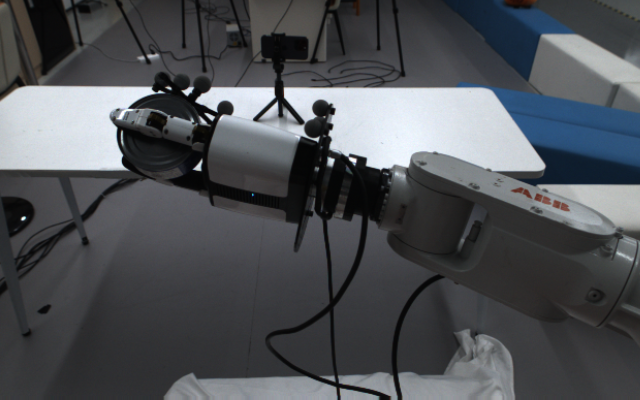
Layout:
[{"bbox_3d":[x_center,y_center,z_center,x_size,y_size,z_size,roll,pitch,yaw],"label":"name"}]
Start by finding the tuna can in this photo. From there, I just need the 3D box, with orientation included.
[{"bbox_3d":[-0.163,-0.067,0.508,0.085,0.034,0.085,0,72,0],"label":"tuna can"}]
